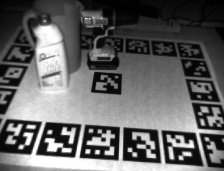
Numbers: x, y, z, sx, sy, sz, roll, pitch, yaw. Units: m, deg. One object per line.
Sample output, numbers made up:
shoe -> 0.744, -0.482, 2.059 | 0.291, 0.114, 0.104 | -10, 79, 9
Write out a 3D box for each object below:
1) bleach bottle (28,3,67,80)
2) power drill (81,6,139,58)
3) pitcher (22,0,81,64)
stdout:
bleach bottle -> -0.198, -0.122, 0.636 | 0.103, 0.252, 0.067 | -3, 50, -5
power drill -> -0.013, -0.181, 0.741 | 0.185, 0.187, 0.057 | 3, 52, -9
pitcher -> -0.182, -0.185, 0.718 | 0.190, 0.243, 0.132 | -18, 54, -17
